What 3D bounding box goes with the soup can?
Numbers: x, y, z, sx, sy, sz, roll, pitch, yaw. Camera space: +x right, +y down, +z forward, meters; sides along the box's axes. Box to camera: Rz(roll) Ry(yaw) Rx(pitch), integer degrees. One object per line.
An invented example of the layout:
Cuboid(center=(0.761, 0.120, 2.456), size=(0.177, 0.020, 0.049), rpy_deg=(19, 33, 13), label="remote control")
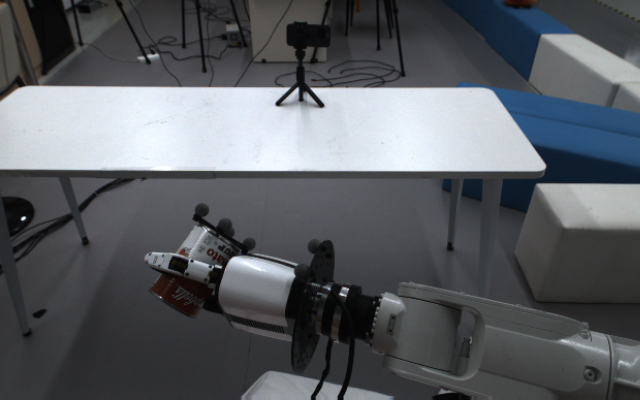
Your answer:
Cuboid(center=(-0.156, 0.090, 0.608), size=(0.067, 0.067, 0.101), rpy_deg=(25, 73, 29), label="soup can")
